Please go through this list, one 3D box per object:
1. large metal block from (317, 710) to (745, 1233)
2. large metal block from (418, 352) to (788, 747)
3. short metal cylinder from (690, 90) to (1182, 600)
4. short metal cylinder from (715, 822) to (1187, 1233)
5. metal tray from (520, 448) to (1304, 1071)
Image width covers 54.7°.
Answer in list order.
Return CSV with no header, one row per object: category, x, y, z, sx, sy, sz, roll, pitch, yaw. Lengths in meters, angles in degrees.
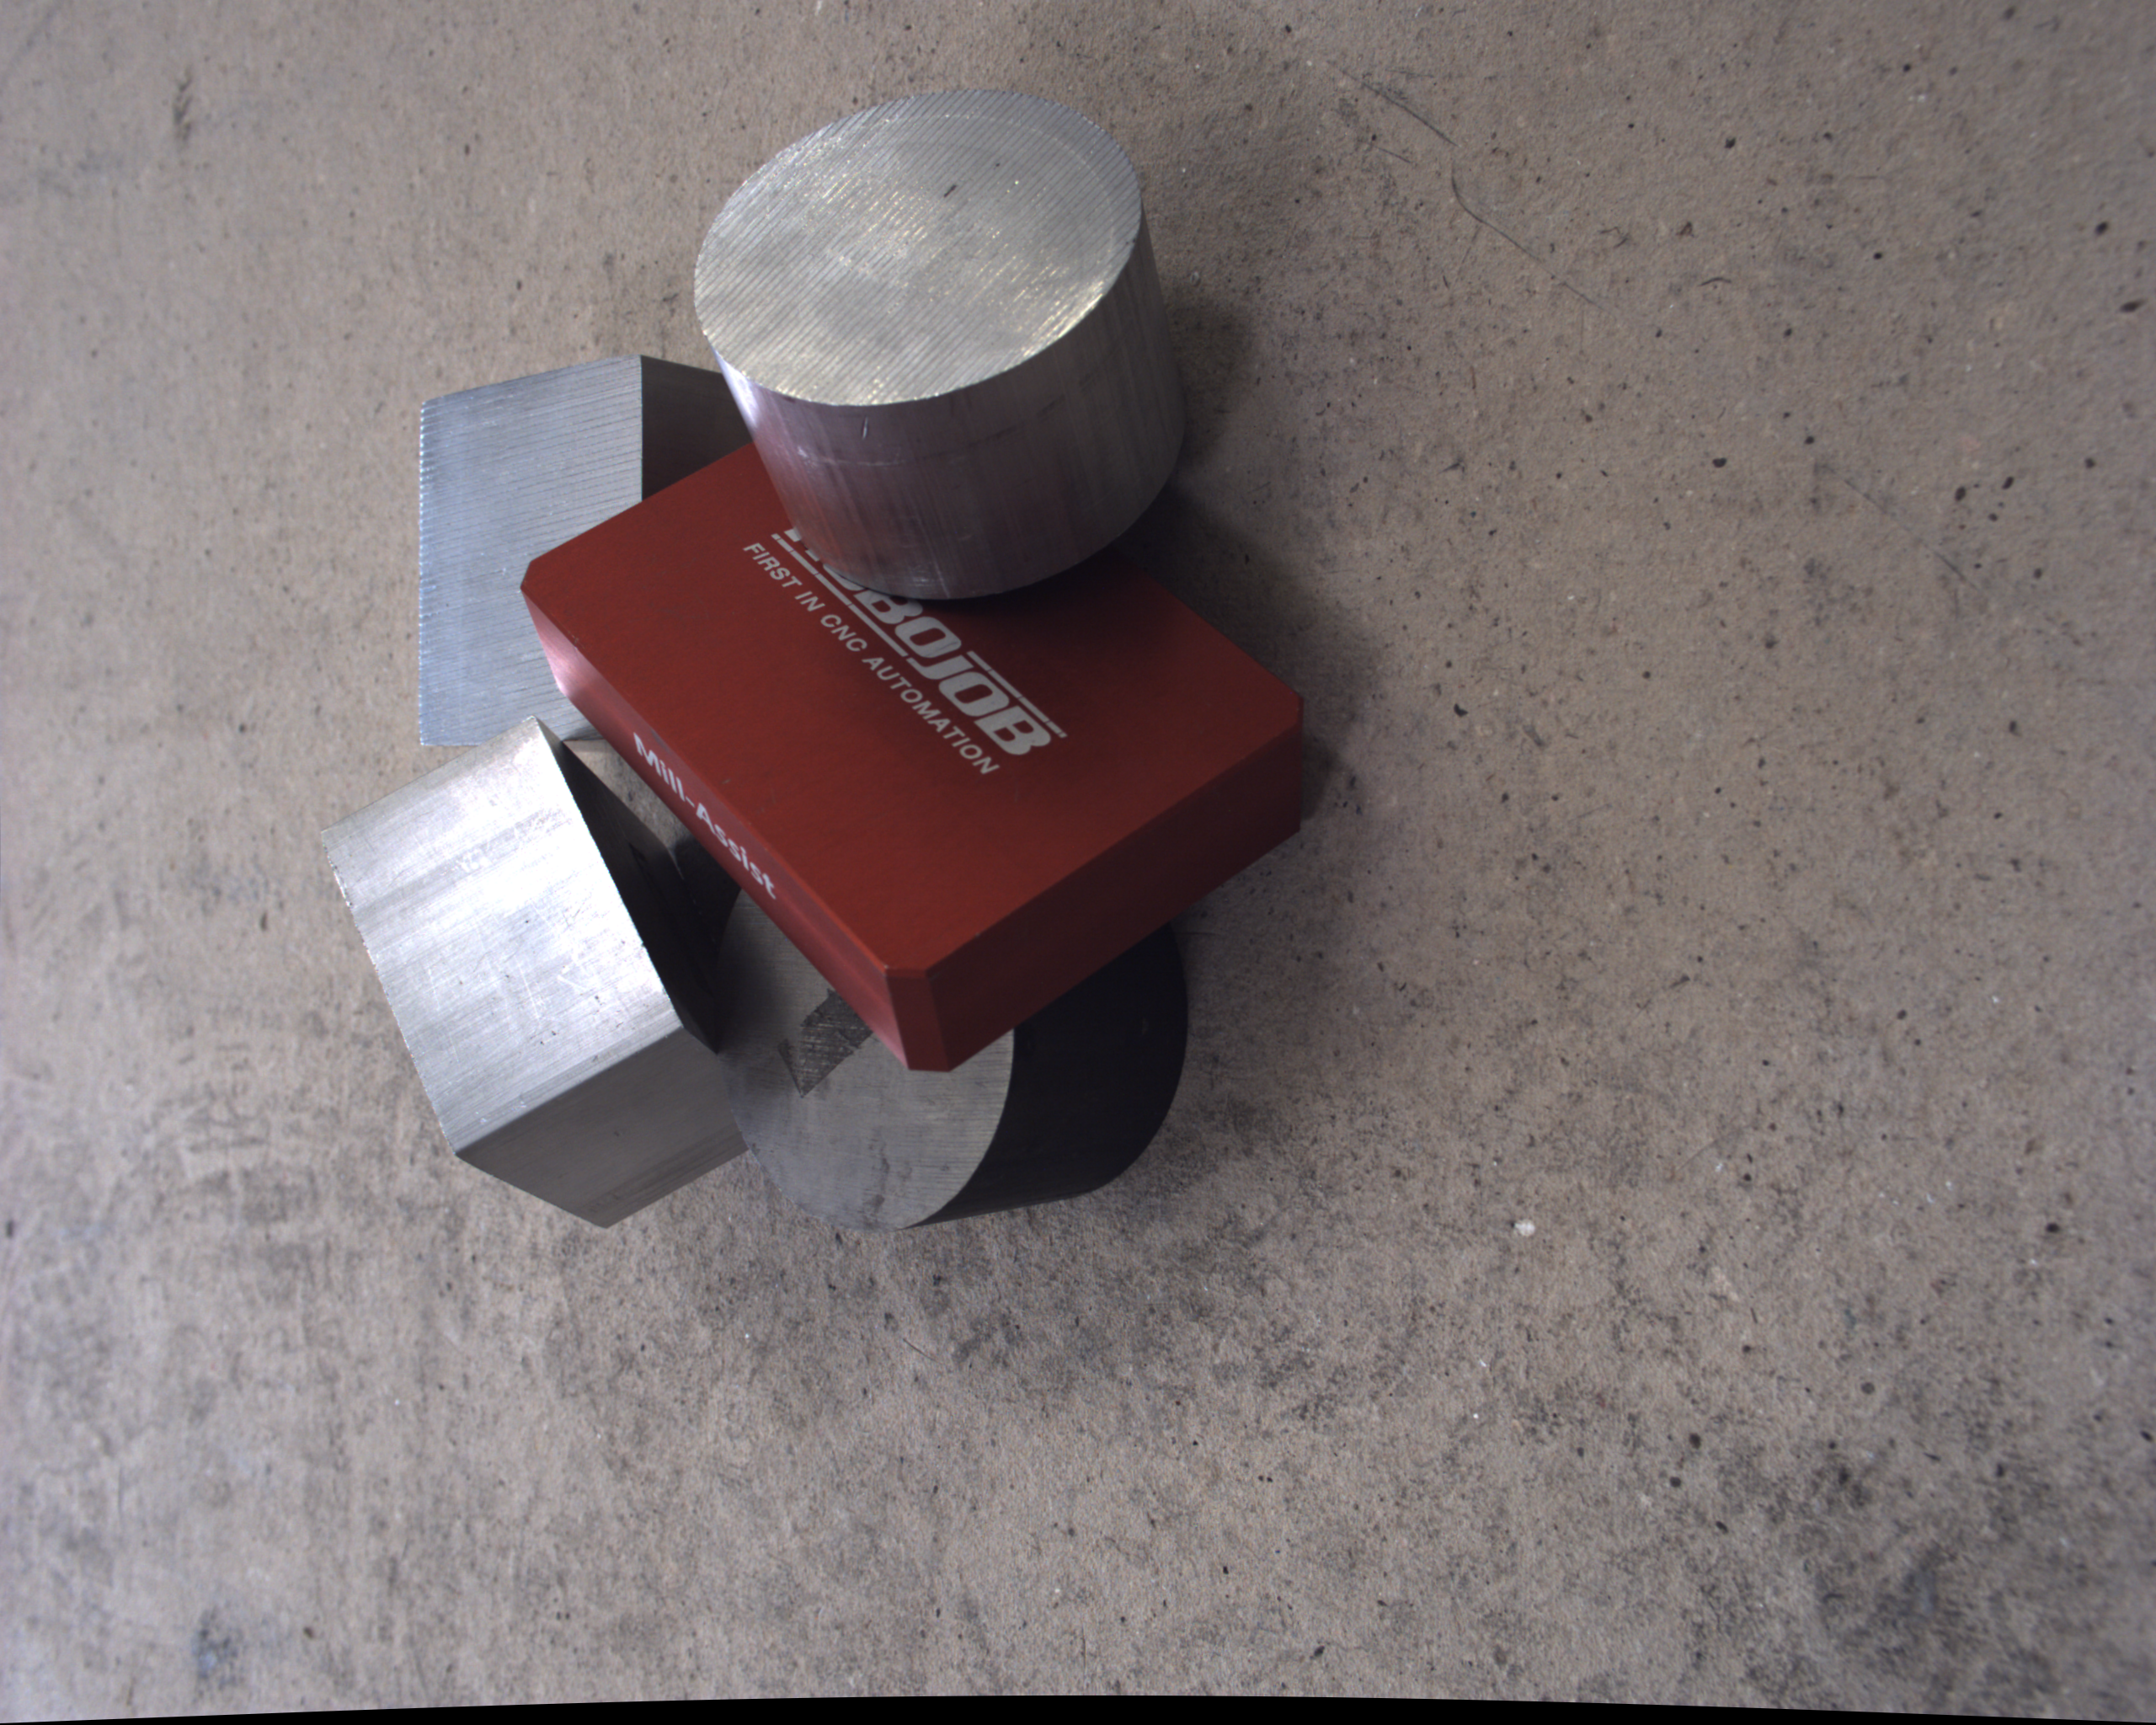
large metal block,-0.109,0.026,0.452,0.050,0.080,0.080,-30,68,-2
large metal block,-0.105,-0.066,0.474,0.080,0.050,0.080,1,91,40
short metal cylinder,-0.024,-0.095,0.384,0.080,0.050,0.080,-6,57,9
short metal cylinder,-0.026,0.030,0.412,0.080,0.050,0.080,0,90,40
metal tray,-0.032,-0.032,0.392,0.130,0.091,0.030,43,156,31
